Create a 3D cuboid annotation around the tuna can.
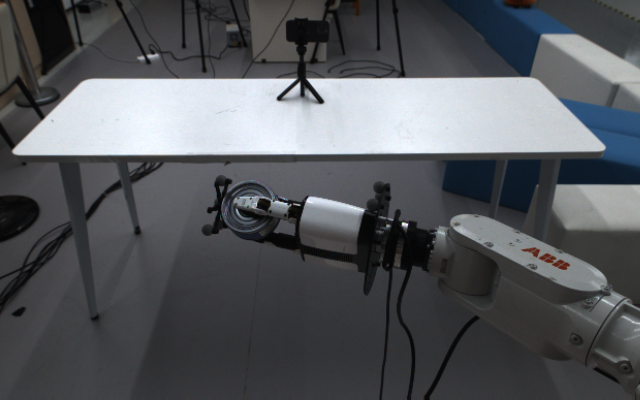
[{"bbox_3d":[-0.100,0.014,0.718,0.085,0.034,0.085,-2,69,6],"label":"tuna can"}]
